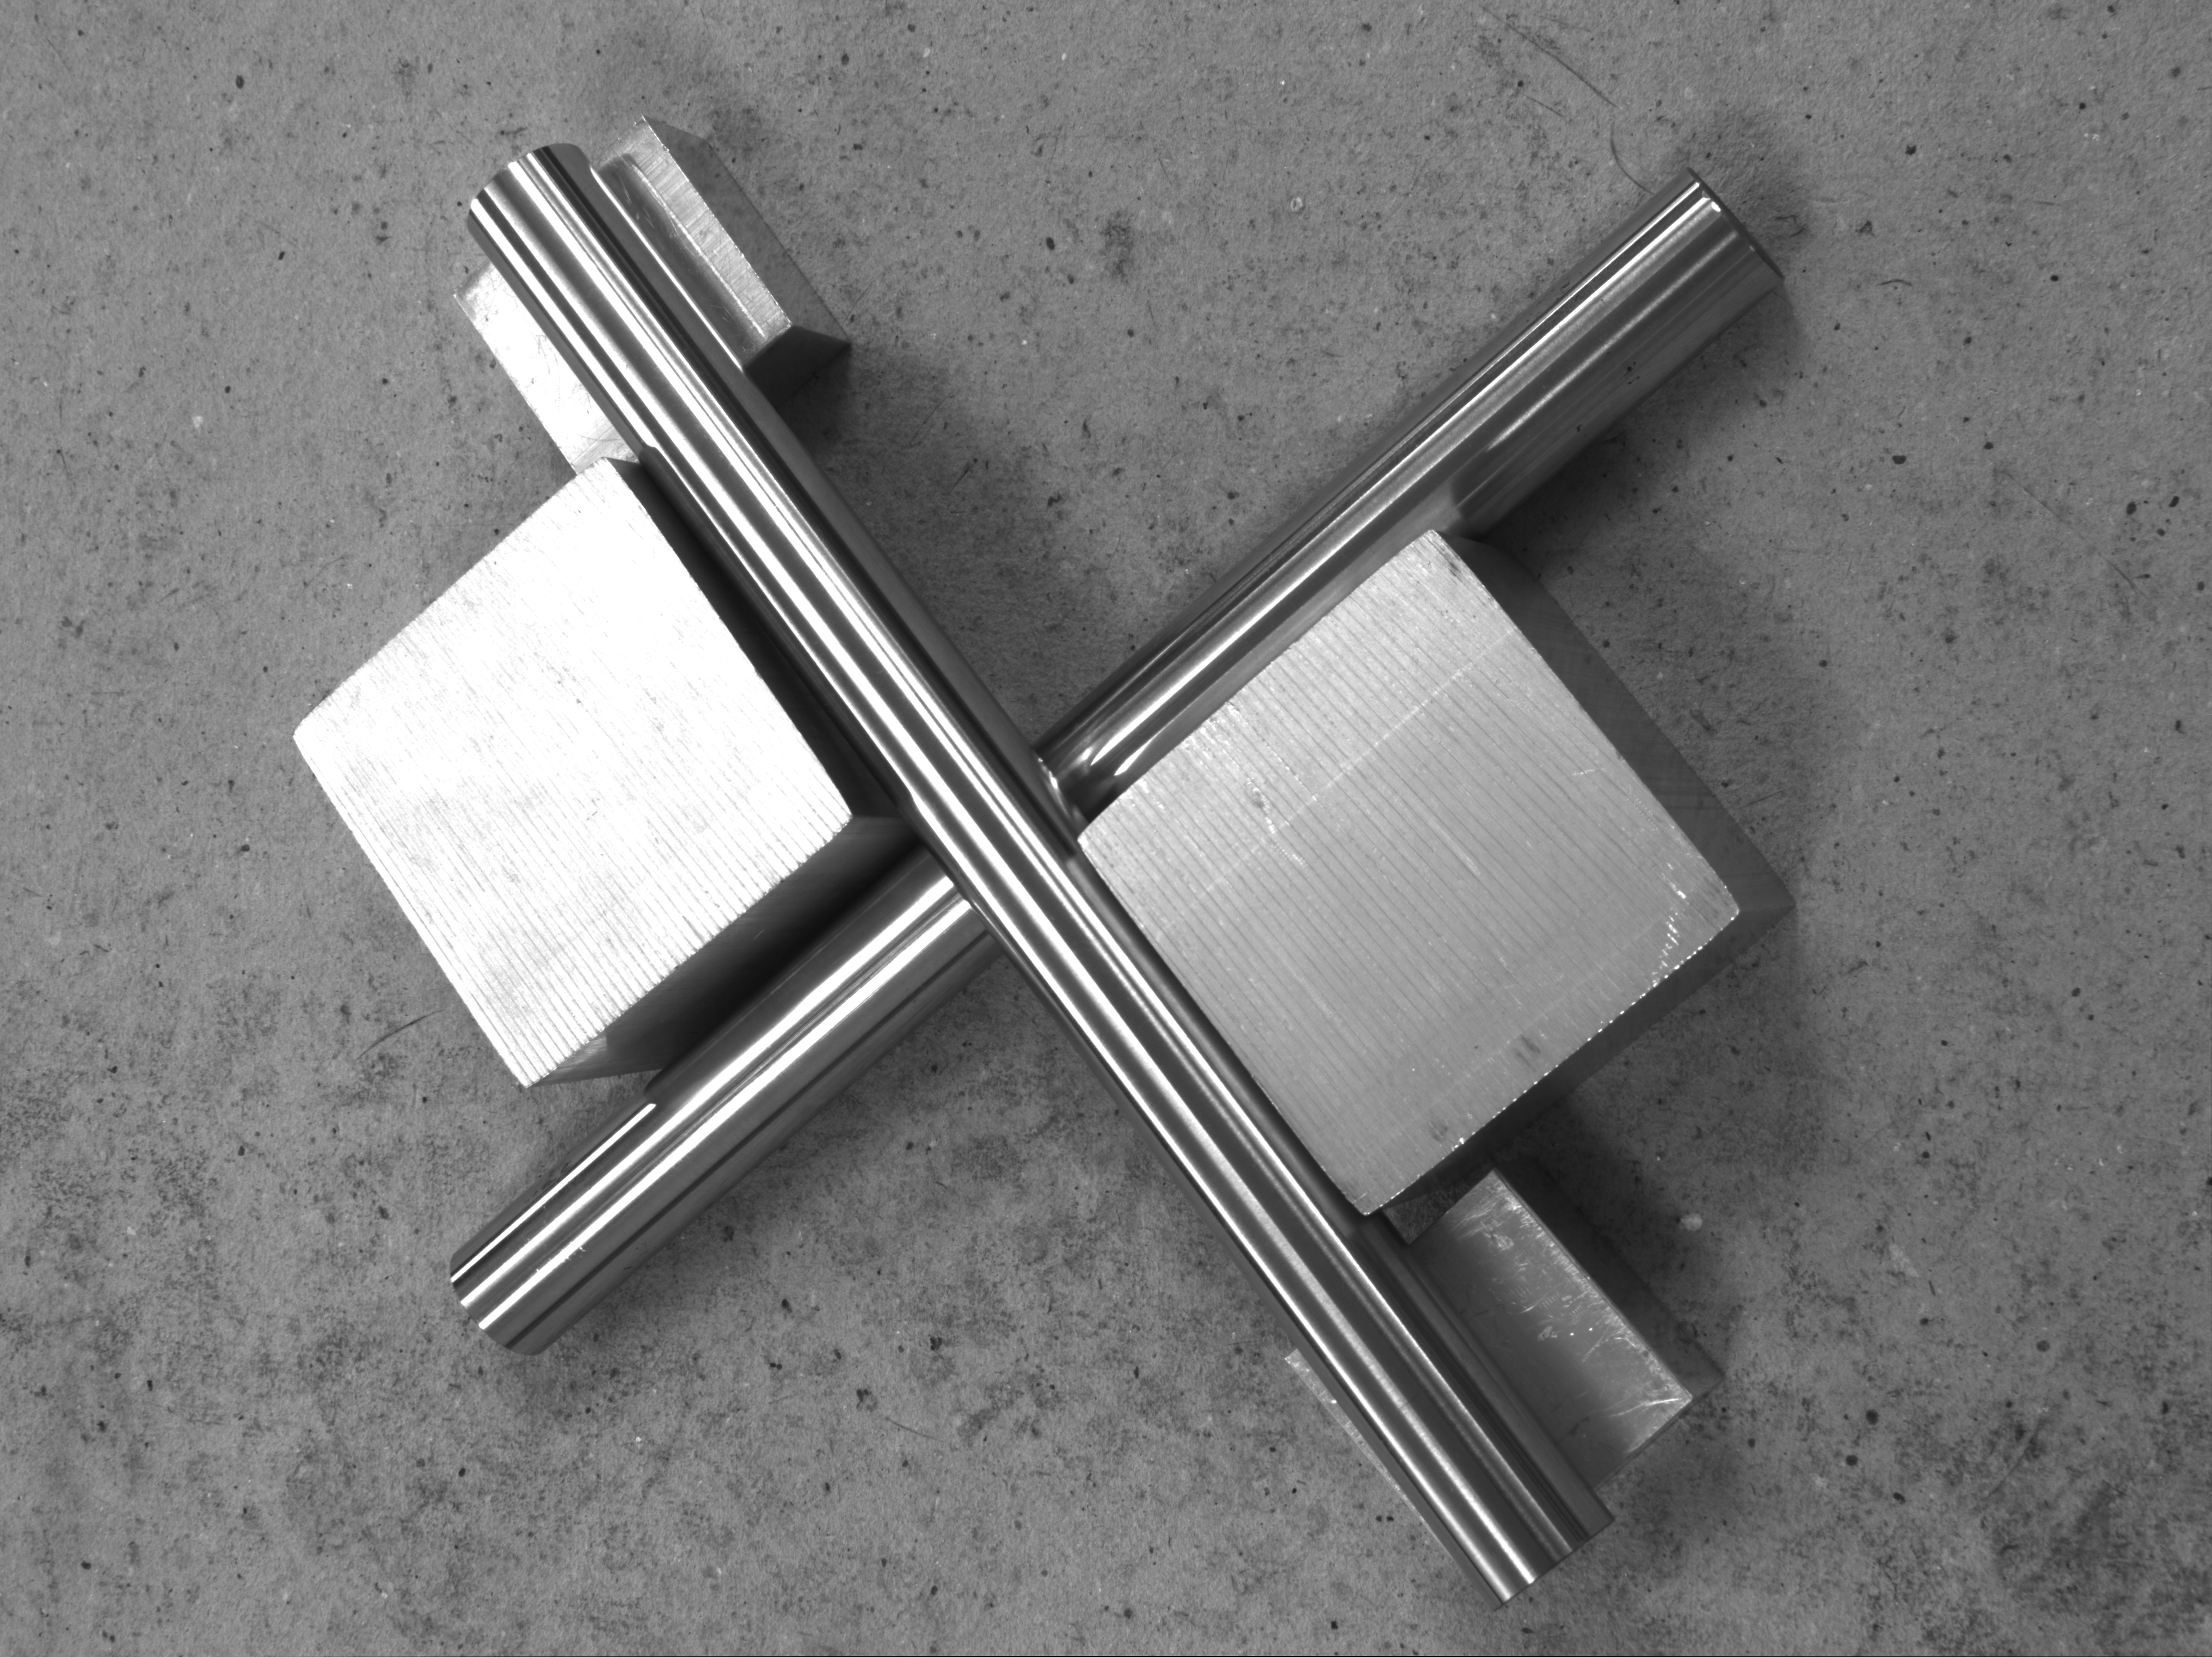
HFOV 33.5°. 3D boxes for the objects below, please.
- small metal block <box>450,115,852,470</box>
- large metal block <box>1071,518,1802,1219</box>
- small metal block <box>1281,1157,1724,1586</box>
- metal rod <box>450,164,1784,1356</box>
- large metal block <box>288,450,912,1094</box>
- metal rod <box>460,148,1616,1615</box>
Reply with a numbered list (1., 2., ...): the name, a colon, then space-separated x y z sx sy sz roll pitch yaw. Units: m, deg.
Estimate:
1. small metal block: -0.084 -0.094 0.679 0.050 0.025 0.050 -39 77 16
2. large metal block: 0.056 0.007 0.613 0.080 0.050 0.080 -41 77 15
3. small metal block: 0.067 0.092 0.623 0.050 0.025 0.050 -45 76 14
4. metal rod: -0.005 -0.006 0.650 0.300 0.025 0.025 -41 77 15
5. large metal block: -0.086 -0.010 0.663 0.080 0.050 0.080 -39 77 16
6. metal rod: -0.016 0.003 0.626 0.025 0.025 0.300 -41 77 15
